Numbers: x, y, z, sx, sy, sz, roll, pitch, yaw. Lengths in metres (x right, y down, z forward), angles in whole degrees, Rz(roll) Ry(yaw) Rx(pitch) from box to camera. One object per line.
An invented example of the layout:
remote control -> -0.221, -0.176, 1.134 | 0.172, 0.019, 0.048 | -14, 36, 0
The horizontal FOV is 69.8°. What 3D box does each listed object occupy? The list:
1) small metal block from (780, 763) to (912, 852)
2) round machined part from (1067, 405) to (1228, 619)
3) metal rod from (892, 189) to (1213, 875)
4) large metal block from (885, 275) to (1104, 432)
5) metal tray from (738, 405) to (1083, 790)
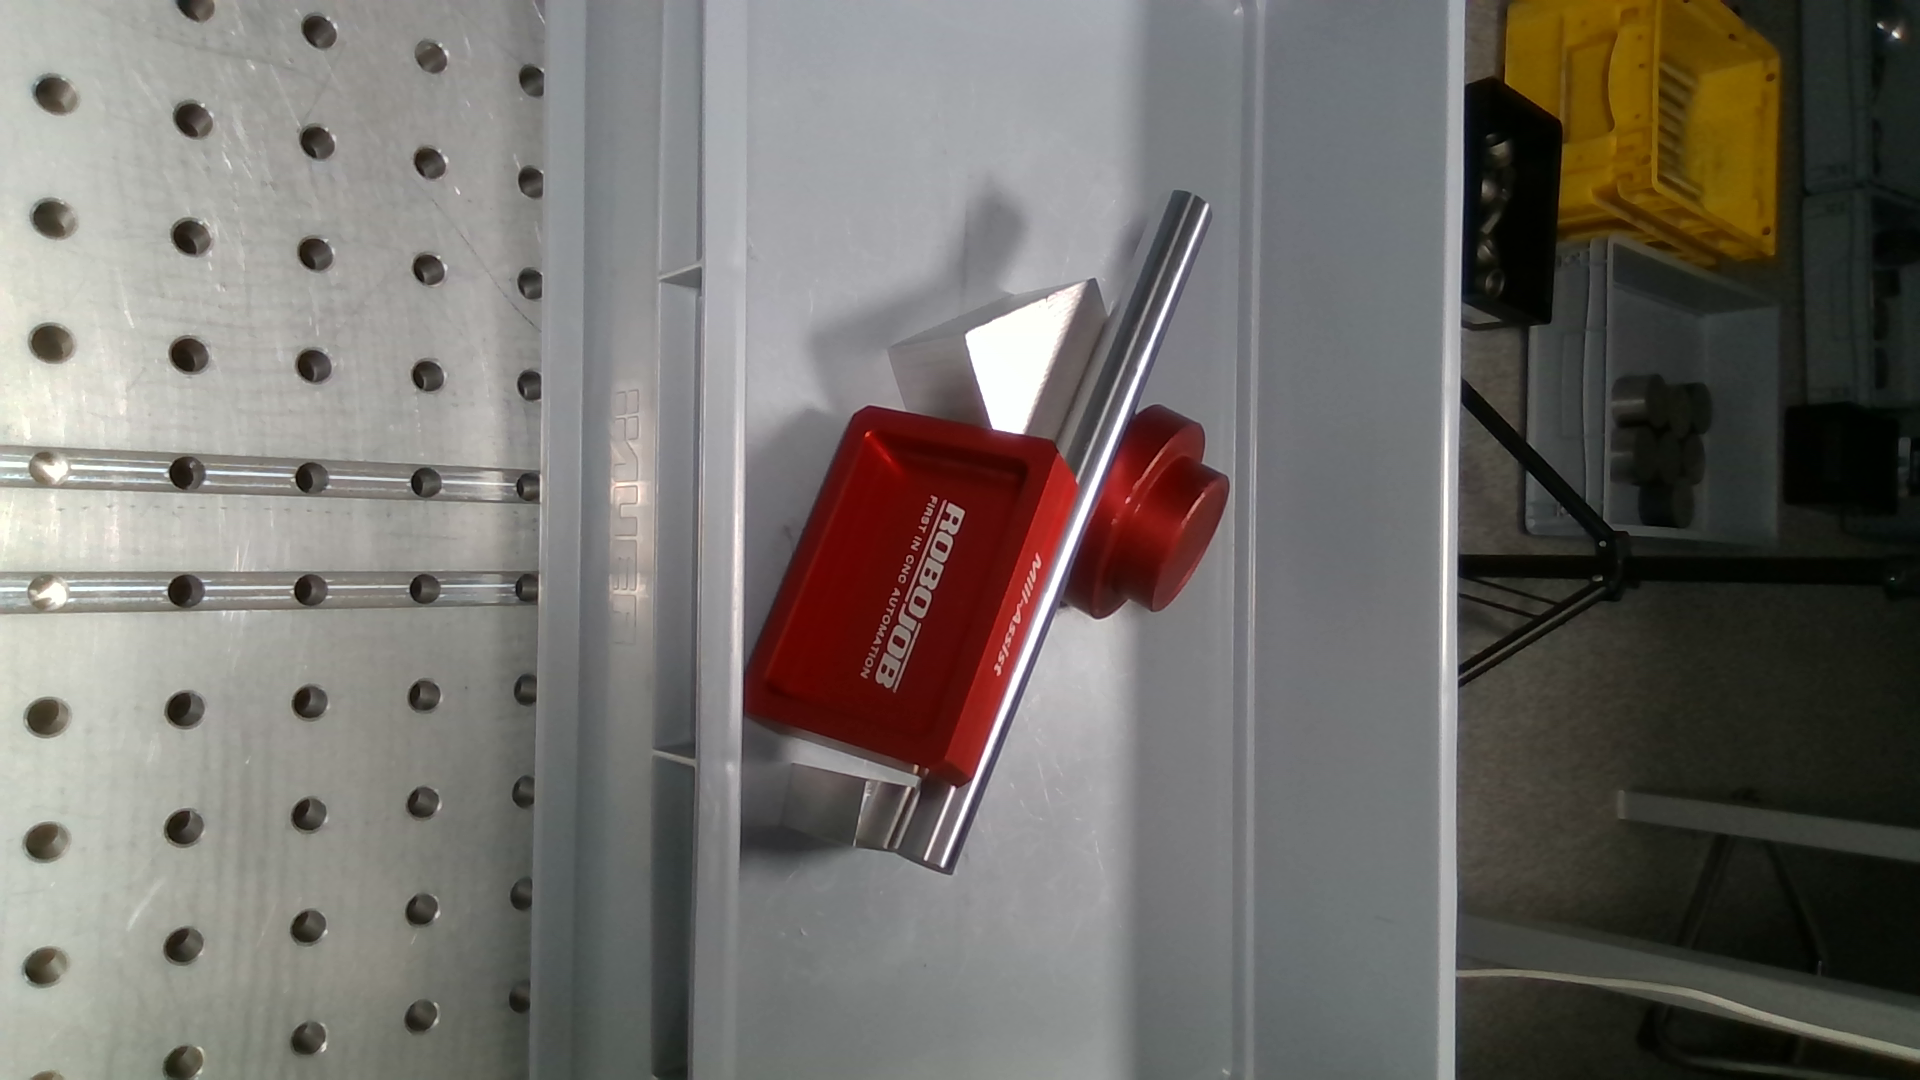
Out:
small metal block -> -0.034, 0.106, 0.537 | 0.050, 0.050, 0.025 | 19, 78, -39
round machined part -> 0.084, -0.007, 0.608 | 0.098, 0.042, 0.098 | -49, 158, -28
metal rod -> 0.042, -0.013, 0.550 | 0.025, 0.025, 0.299 | 36, 68, -34
large metal block -> 0.025, -0.059, 0.586 | 0.080, 0.050, 0.080 | -29, 108, -37
metal tray -> -0.017, 0.019, 0.520 | 0.130, 0.090, 0.030 | -69, 155, -16
